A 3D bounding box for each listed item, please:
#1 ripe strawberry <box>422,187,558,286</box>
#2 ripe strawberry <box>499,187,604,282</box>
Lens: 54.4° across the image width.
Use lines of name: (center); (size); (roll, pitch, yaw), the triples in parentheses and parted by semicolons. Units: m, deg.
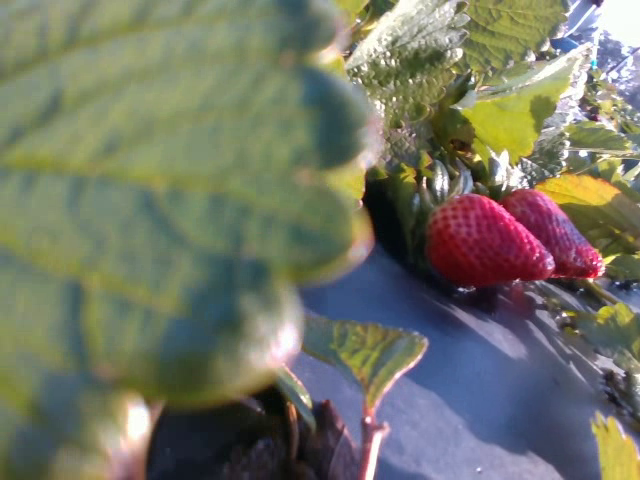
ripe strawberry: (0.061, 0.003, 0.220); (0.051, 0.037, 0.043); (28, 51, 19)
ripe strawberry: (0.095, 0.003, 0.264); (0.057, 0.046, 0.052); (30, 45, 25)
